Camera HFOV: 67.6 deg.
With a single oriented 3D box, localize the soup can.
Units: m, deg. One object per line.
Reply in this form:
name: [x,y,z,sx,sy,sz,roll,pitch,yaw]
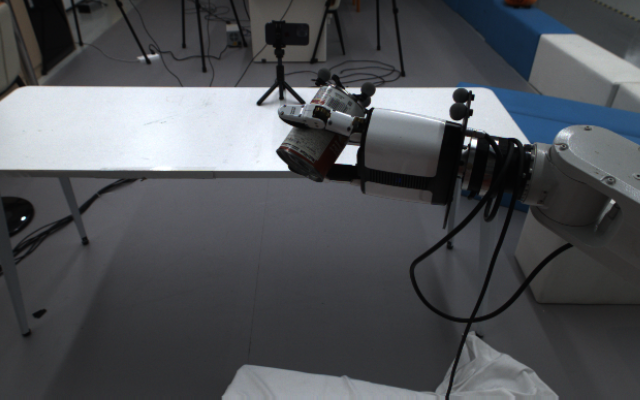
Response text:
soup can: [0.003,-0.082,0.595,0.067,0.067,0.101,27,78,31]
